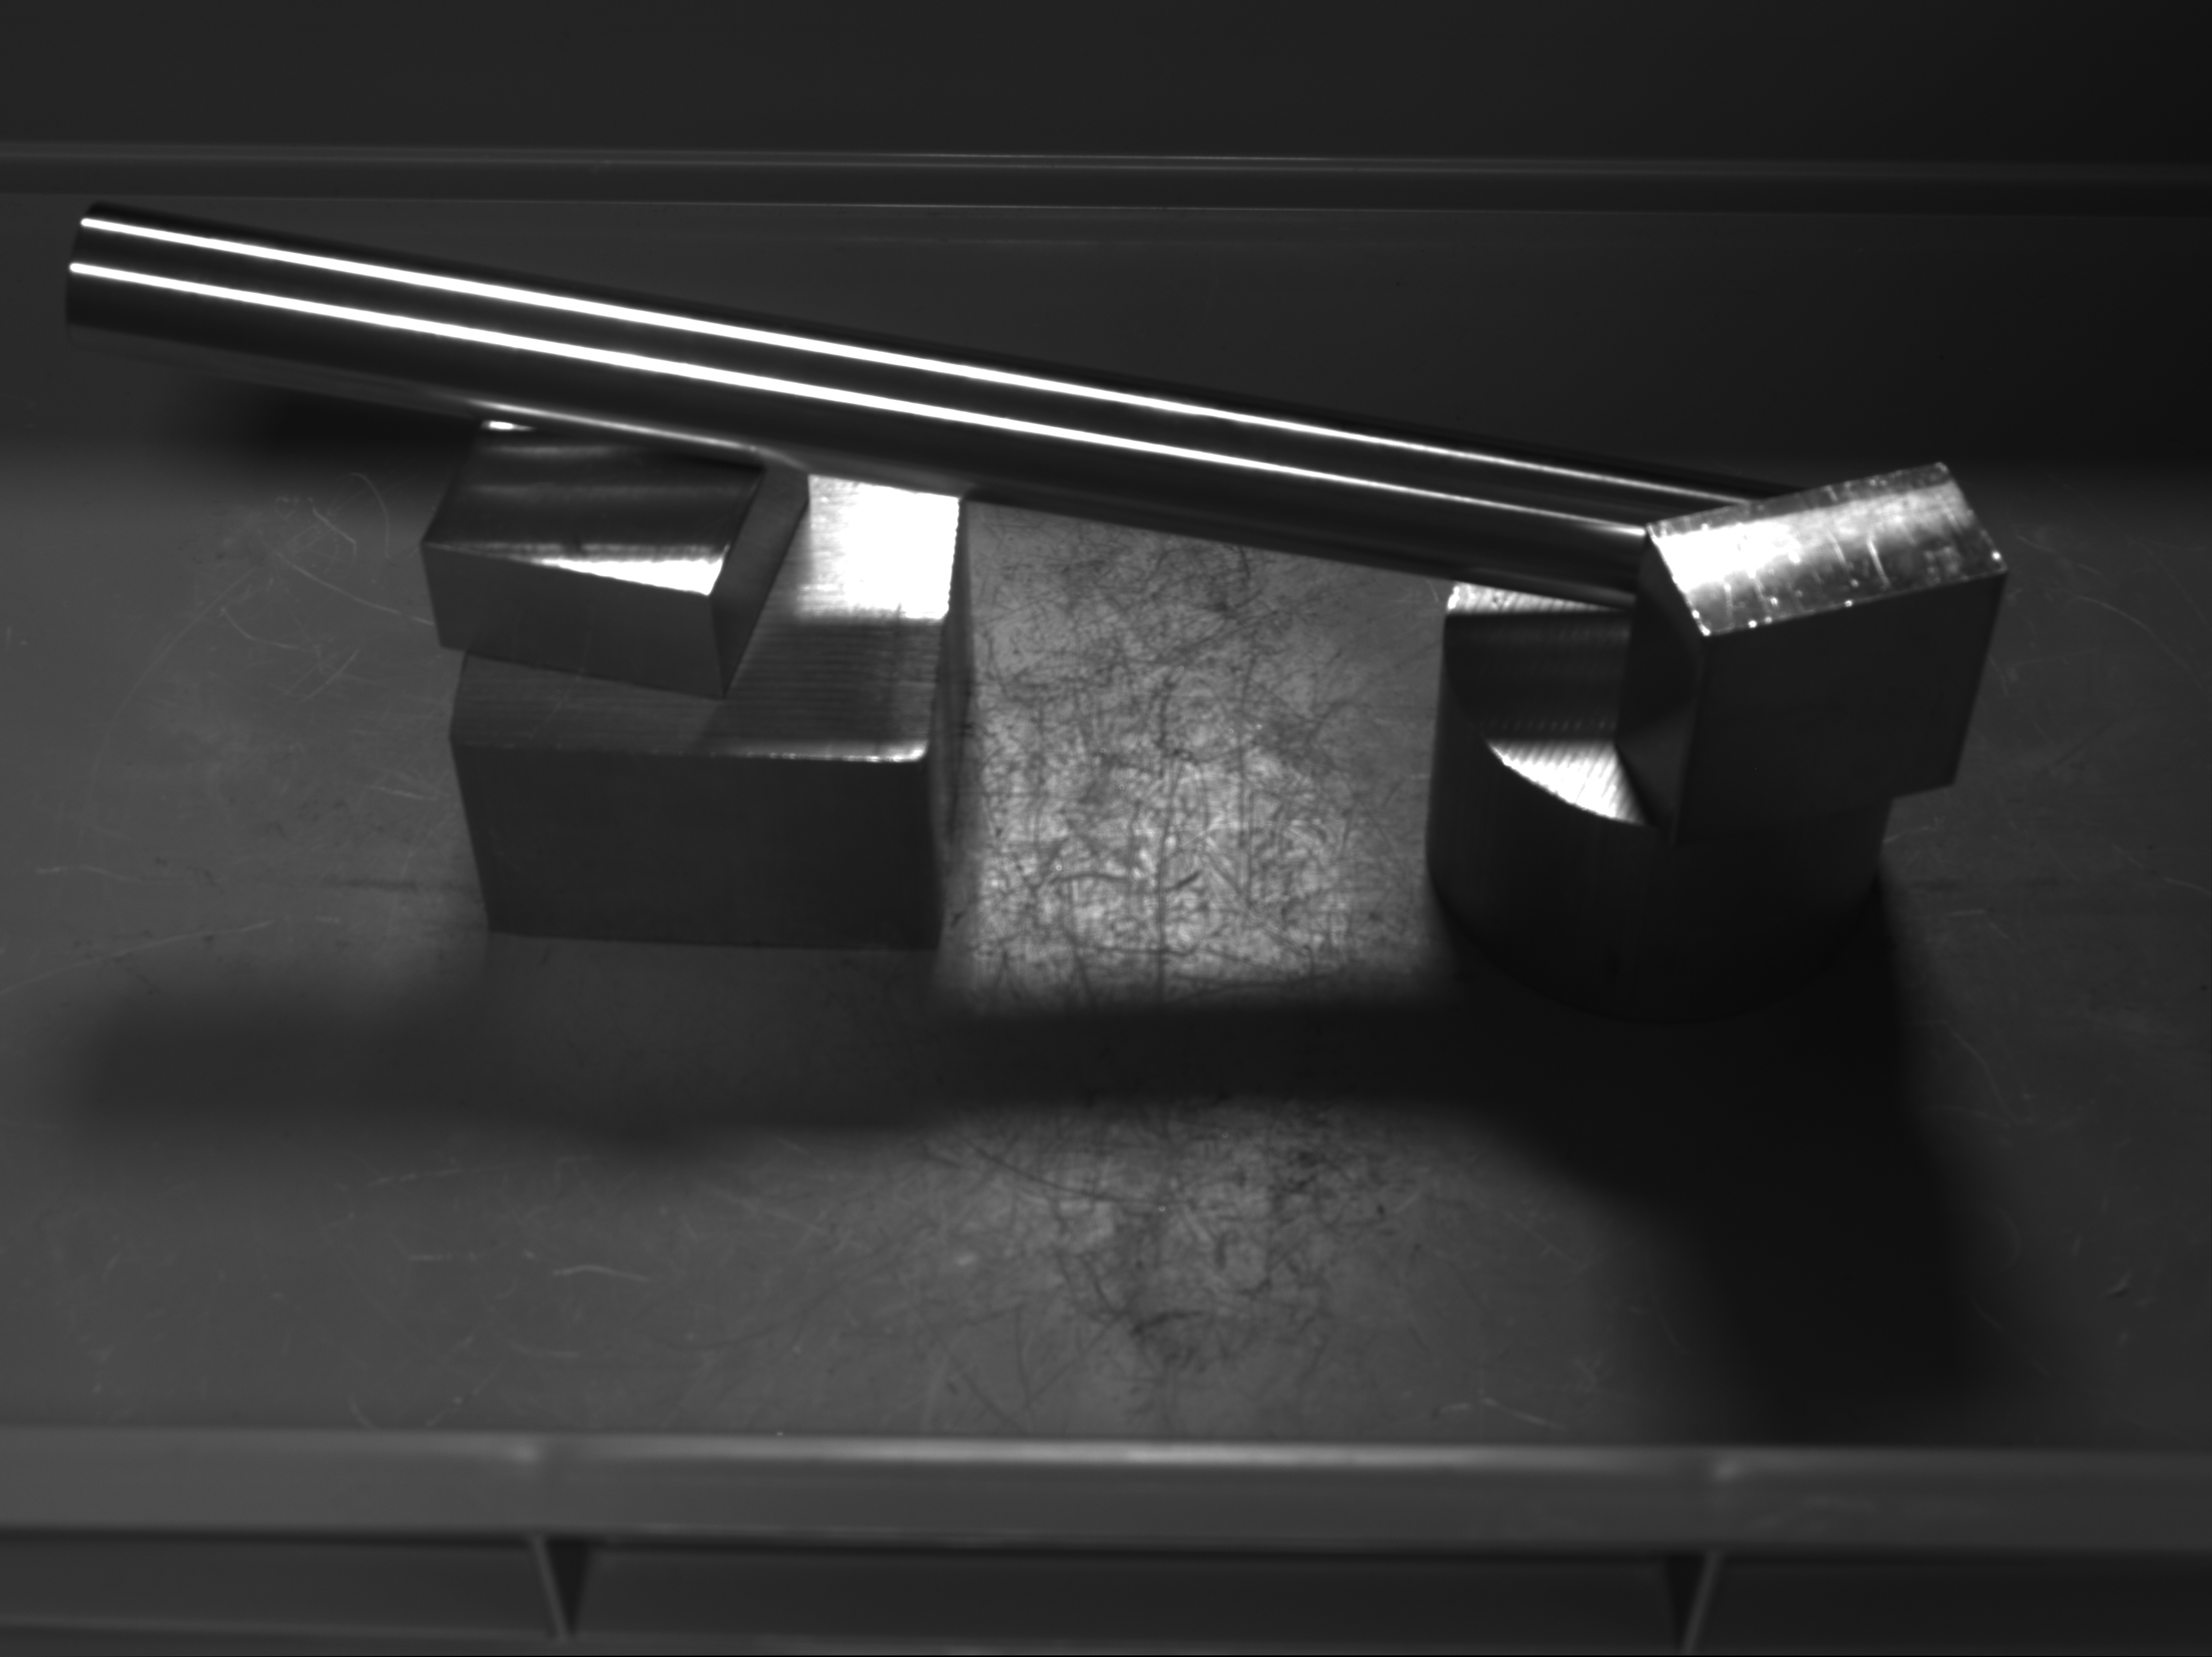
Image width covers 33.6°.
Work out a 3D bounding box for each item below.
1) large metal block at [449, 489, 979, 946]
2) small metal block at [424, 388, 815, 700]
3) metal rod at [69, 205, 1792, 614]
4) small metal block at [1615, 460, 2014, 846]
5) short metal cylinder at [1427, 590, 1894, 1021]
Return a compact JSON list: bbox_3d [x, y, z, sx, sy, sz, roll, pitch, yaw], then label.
[{"bbox_3d":[-0.066,-0.028,0.646,0.080,0.050,0.080,2,50,2],"label":"large metal block"},{"bbox_3d":[-0.081,-0.052,0.619,0.050,0.025,0.050,10,50,9],"label":"small metal block"},{"bbox_3d":[-0.018,-0.065,0.604,0.300,0.025,0.025,9,50,-2],"label":"metal rod"},{"bbox_3d":[0.111,-0.027,0.581,0.050,0.050,0.025,-11,51,-9],"label":"small metal block"},{"bbox_3d":[0.097,-0.014,0.636,0.080,0.050,0.080,0,50,0],"label":"short metal cylinder"}]
